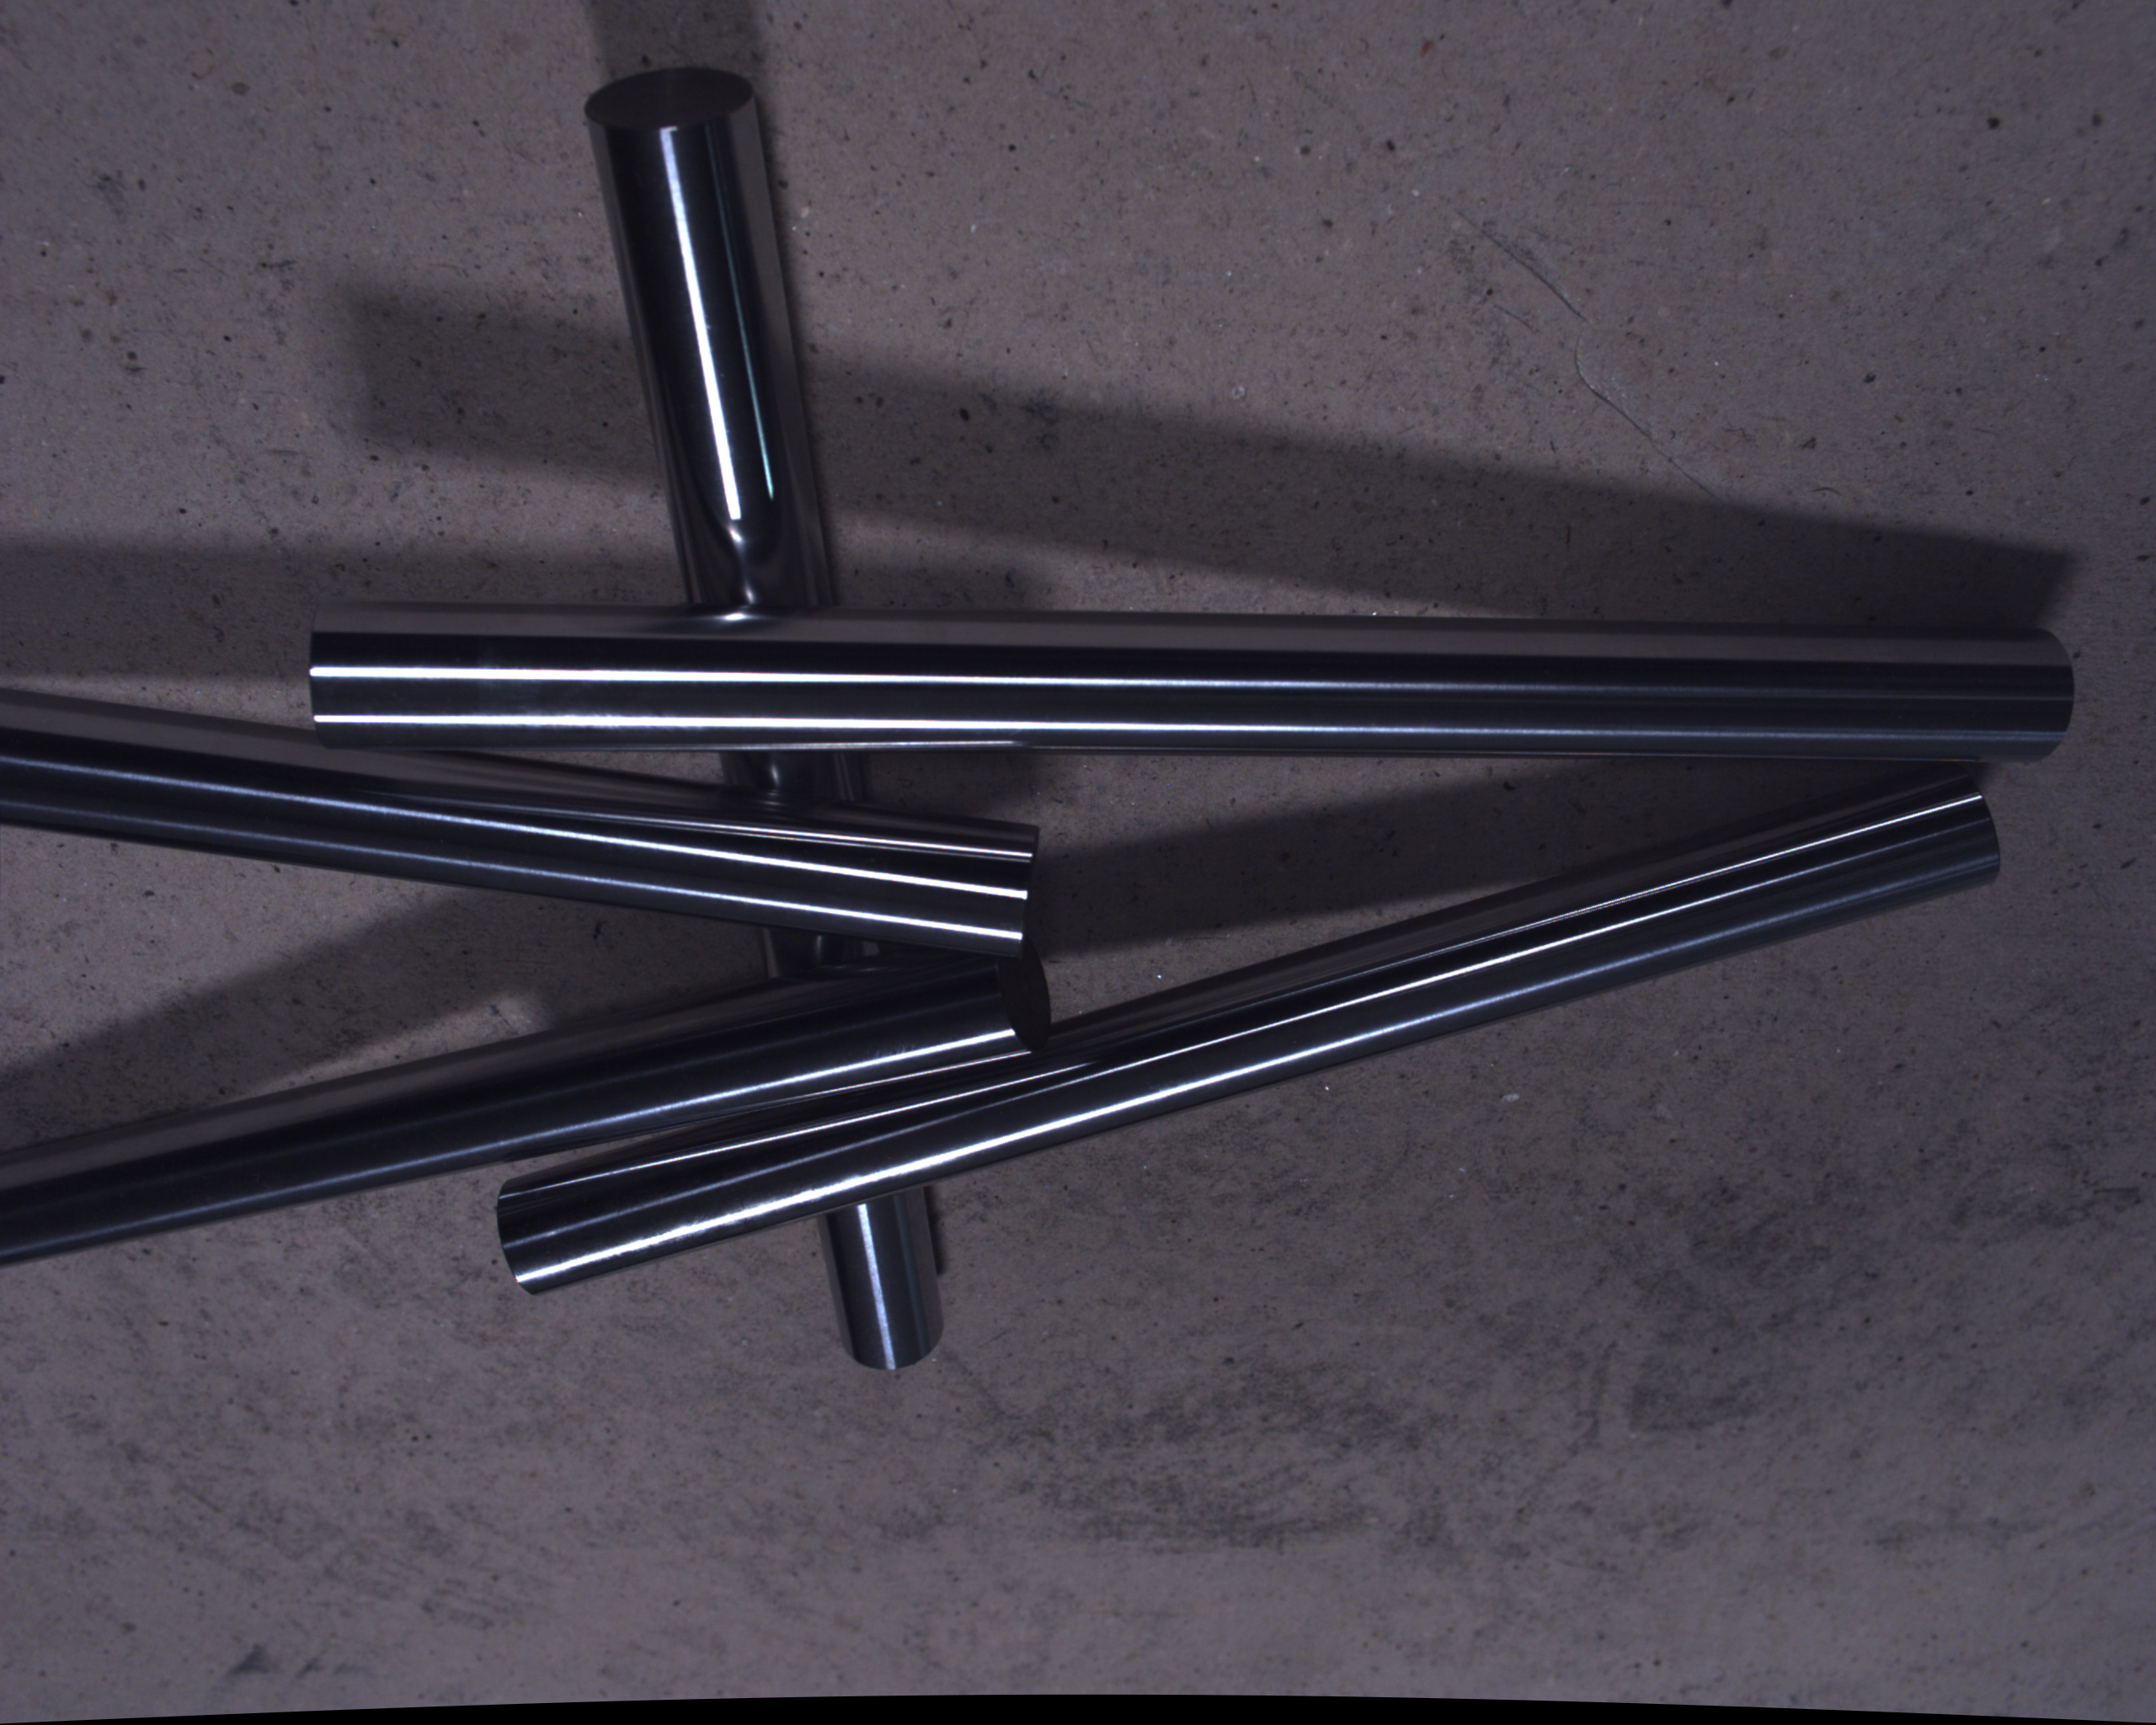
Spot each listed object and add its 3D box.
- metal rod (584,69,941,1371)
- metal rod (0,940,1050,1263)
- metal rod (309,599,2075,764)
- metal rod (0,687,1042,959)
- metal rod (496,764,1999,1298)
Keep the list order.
[{"bbox_3d":[-0.053,-0.001,0.407,0.025,0.025,0.298,-3,130,2],"label":"metal rod"},{"bbox_3d":[-0.150,0.056,0.436,0.301,0.025,0.025,-13,129,18],"label":"metal rod"},{"bbox_3d":[0.027,-0.030,0.362,0.302,0.025,0.025,0,131,-9],"label":"metal rod"},{"bbox_3d":[-0.158,-0.015,0.375,0.302,0.025,0.025,8,130,0],"label":"metal rod"},{"bbox_3d":[0.030,0.035,0.418,0.301,0.025,0.025,-17,129,5],"label":"metal rod"}]
